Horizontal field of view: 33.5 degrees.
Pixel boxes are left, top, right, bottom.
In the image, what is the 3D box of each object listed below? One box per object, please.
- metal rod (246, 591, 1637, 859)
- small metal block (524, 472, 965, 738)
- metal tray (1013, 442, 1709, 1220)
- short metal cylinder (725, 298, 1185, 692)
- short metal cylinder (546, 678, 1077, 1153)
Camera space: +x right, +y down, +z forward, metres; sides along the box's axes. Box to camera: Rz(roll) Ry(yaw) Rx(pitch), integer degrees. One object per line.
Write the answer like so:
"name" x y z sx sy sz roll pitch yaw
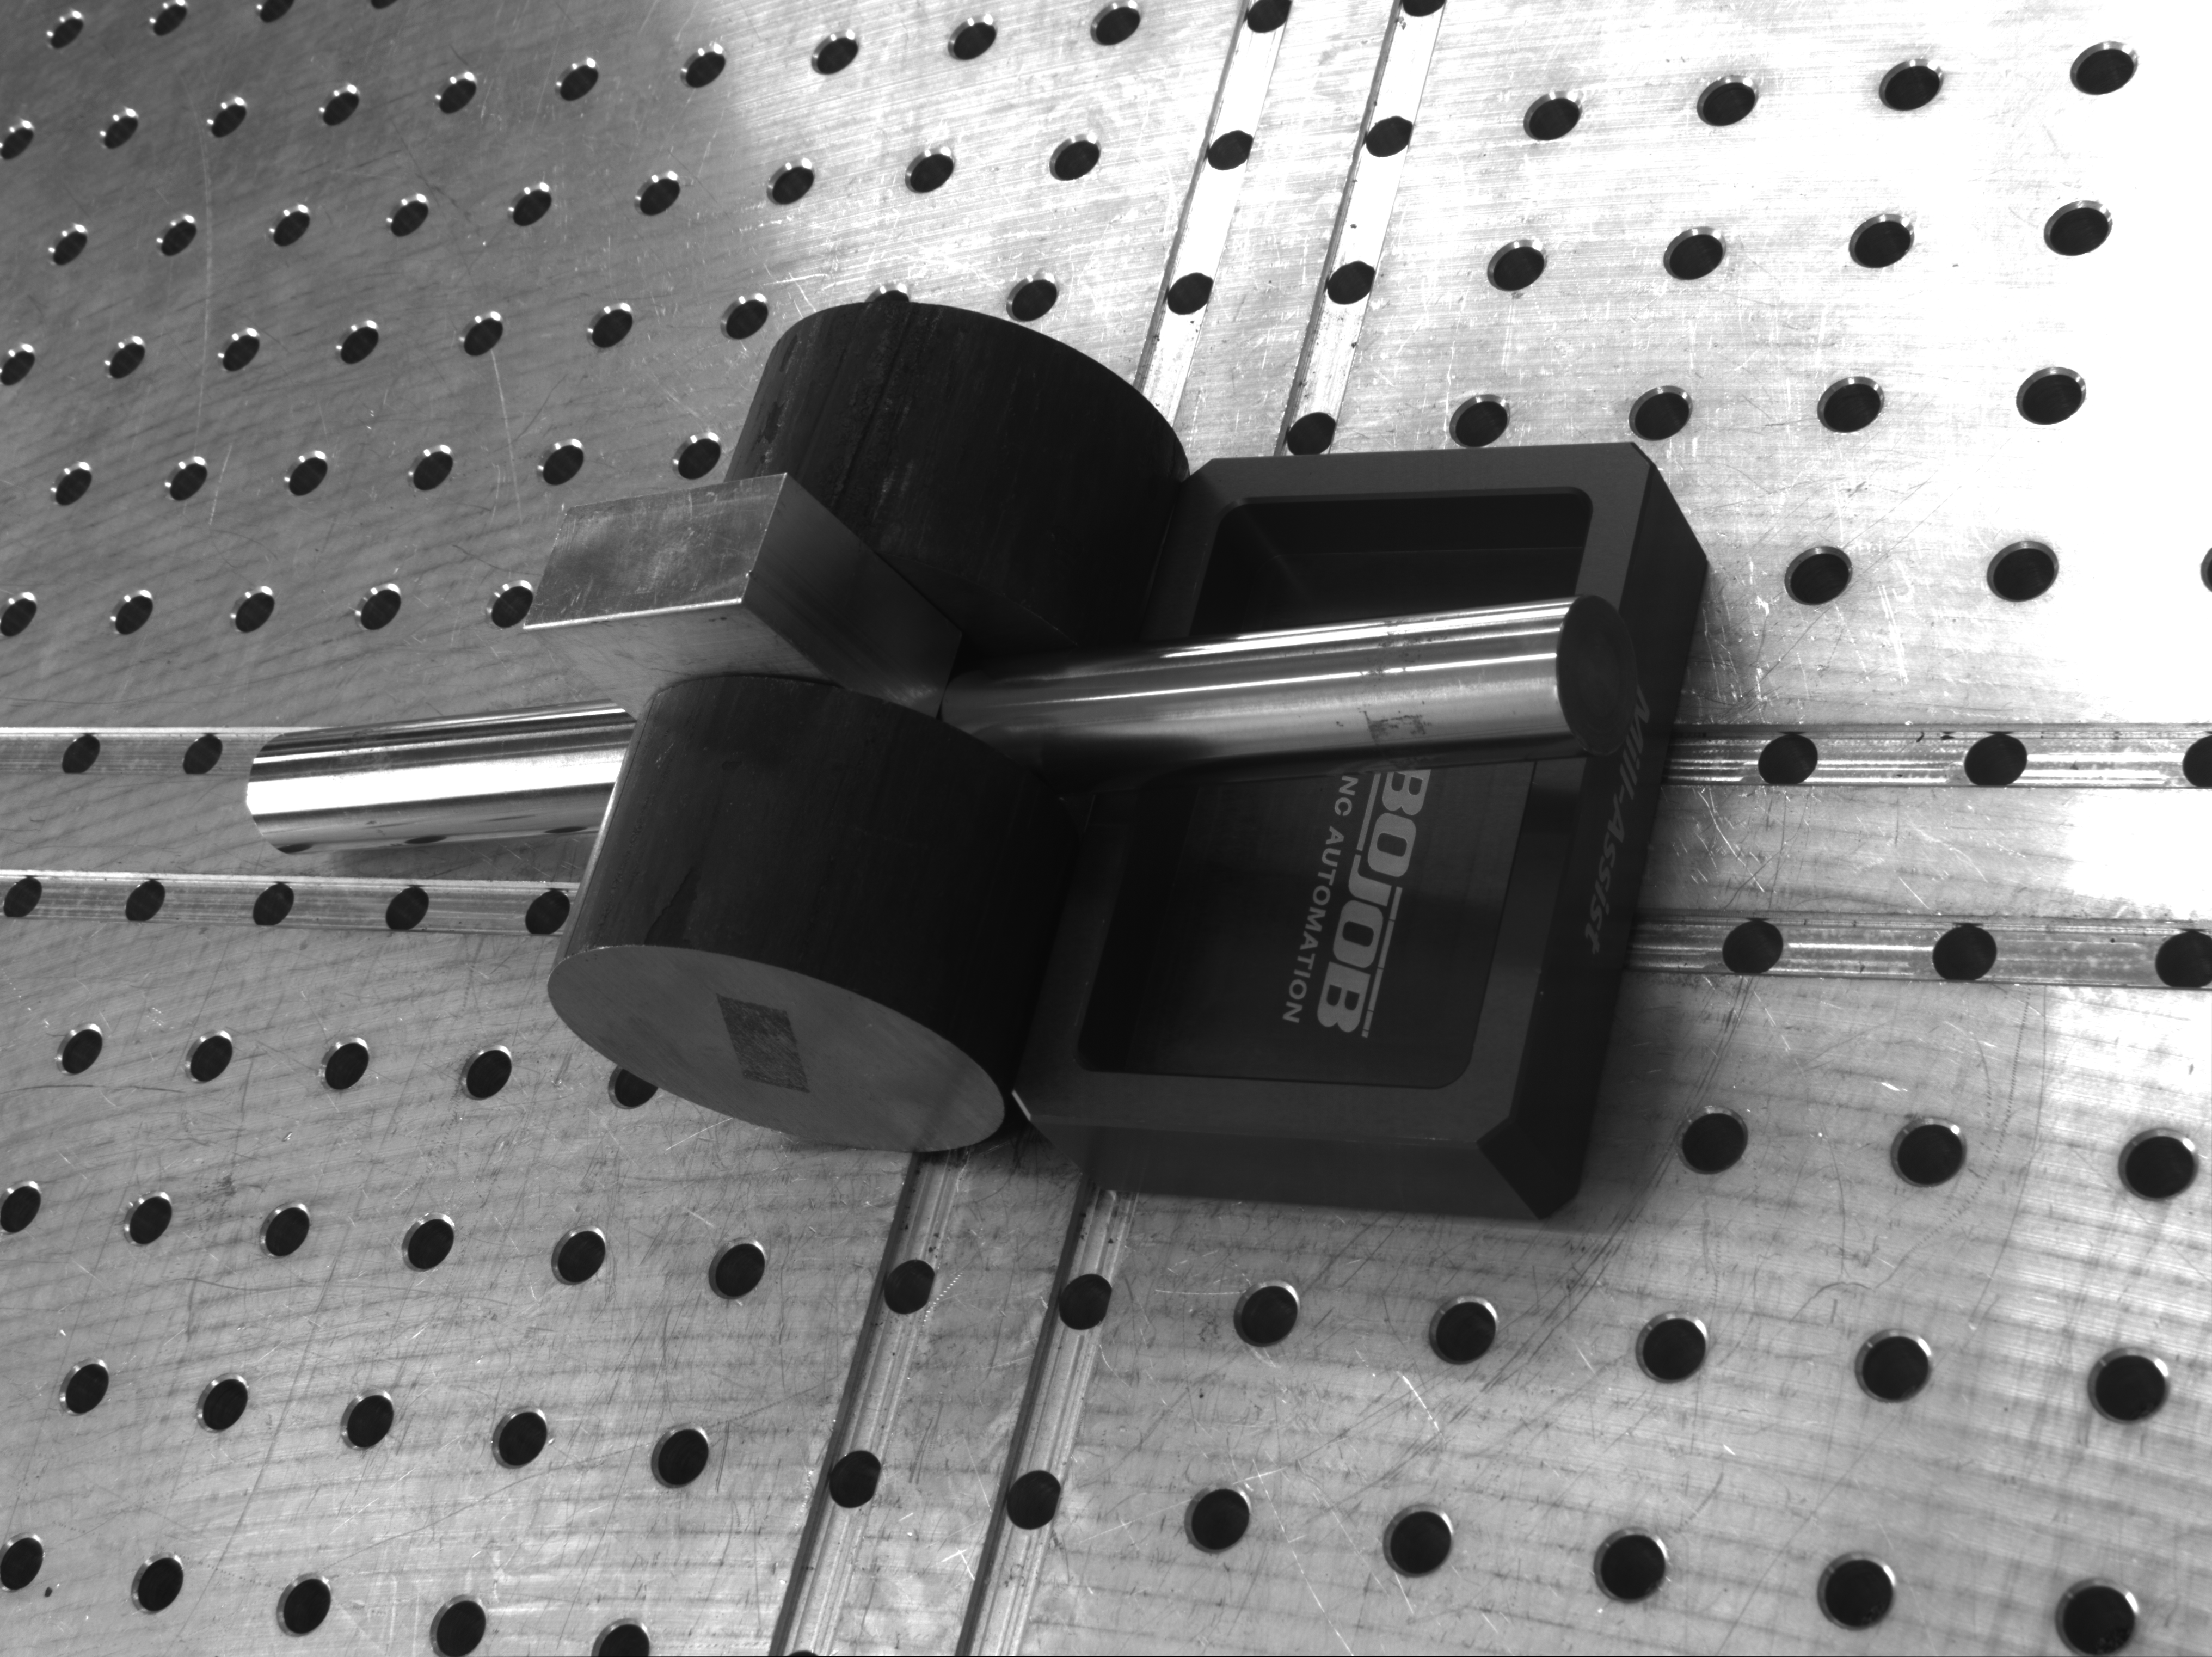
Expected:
"metal rod" -0.044 -0.015 0.652 0.299 0.025 0.025 -4 59 37
"small metal block" -0.061 -0.034 0.625 0.050 0.050 0.025 -4 59 36
"metal tray" 0.045 -0.002 0.622 0.090 0.030 0.130 1 62 29
"short metal cylinder" -0.030 -0.051 0.659 0.080 0.080 0.050 1 62 29
"short metal cylinder" -0.050 0.016 0.629 0.080 0.080 0.050 1 62 29
